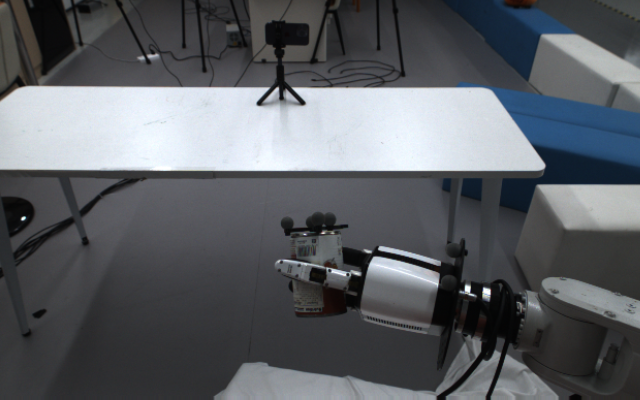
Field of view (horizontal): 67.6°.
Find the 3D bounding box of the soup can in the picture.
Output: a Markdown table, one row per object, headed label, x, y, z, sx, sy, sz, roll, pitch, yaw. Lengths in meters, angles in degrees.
| label | x | y | z | sx | sy | sz | roll | pitch | yaw |
| --- | --- | --- | --- | --- | --- | --- | --- | --- | --- |
| soup can | 0.000 | 0.092 | 0.611 | 0.067 | 0.101 | 0.067 | -5 | -5 | 0 |
